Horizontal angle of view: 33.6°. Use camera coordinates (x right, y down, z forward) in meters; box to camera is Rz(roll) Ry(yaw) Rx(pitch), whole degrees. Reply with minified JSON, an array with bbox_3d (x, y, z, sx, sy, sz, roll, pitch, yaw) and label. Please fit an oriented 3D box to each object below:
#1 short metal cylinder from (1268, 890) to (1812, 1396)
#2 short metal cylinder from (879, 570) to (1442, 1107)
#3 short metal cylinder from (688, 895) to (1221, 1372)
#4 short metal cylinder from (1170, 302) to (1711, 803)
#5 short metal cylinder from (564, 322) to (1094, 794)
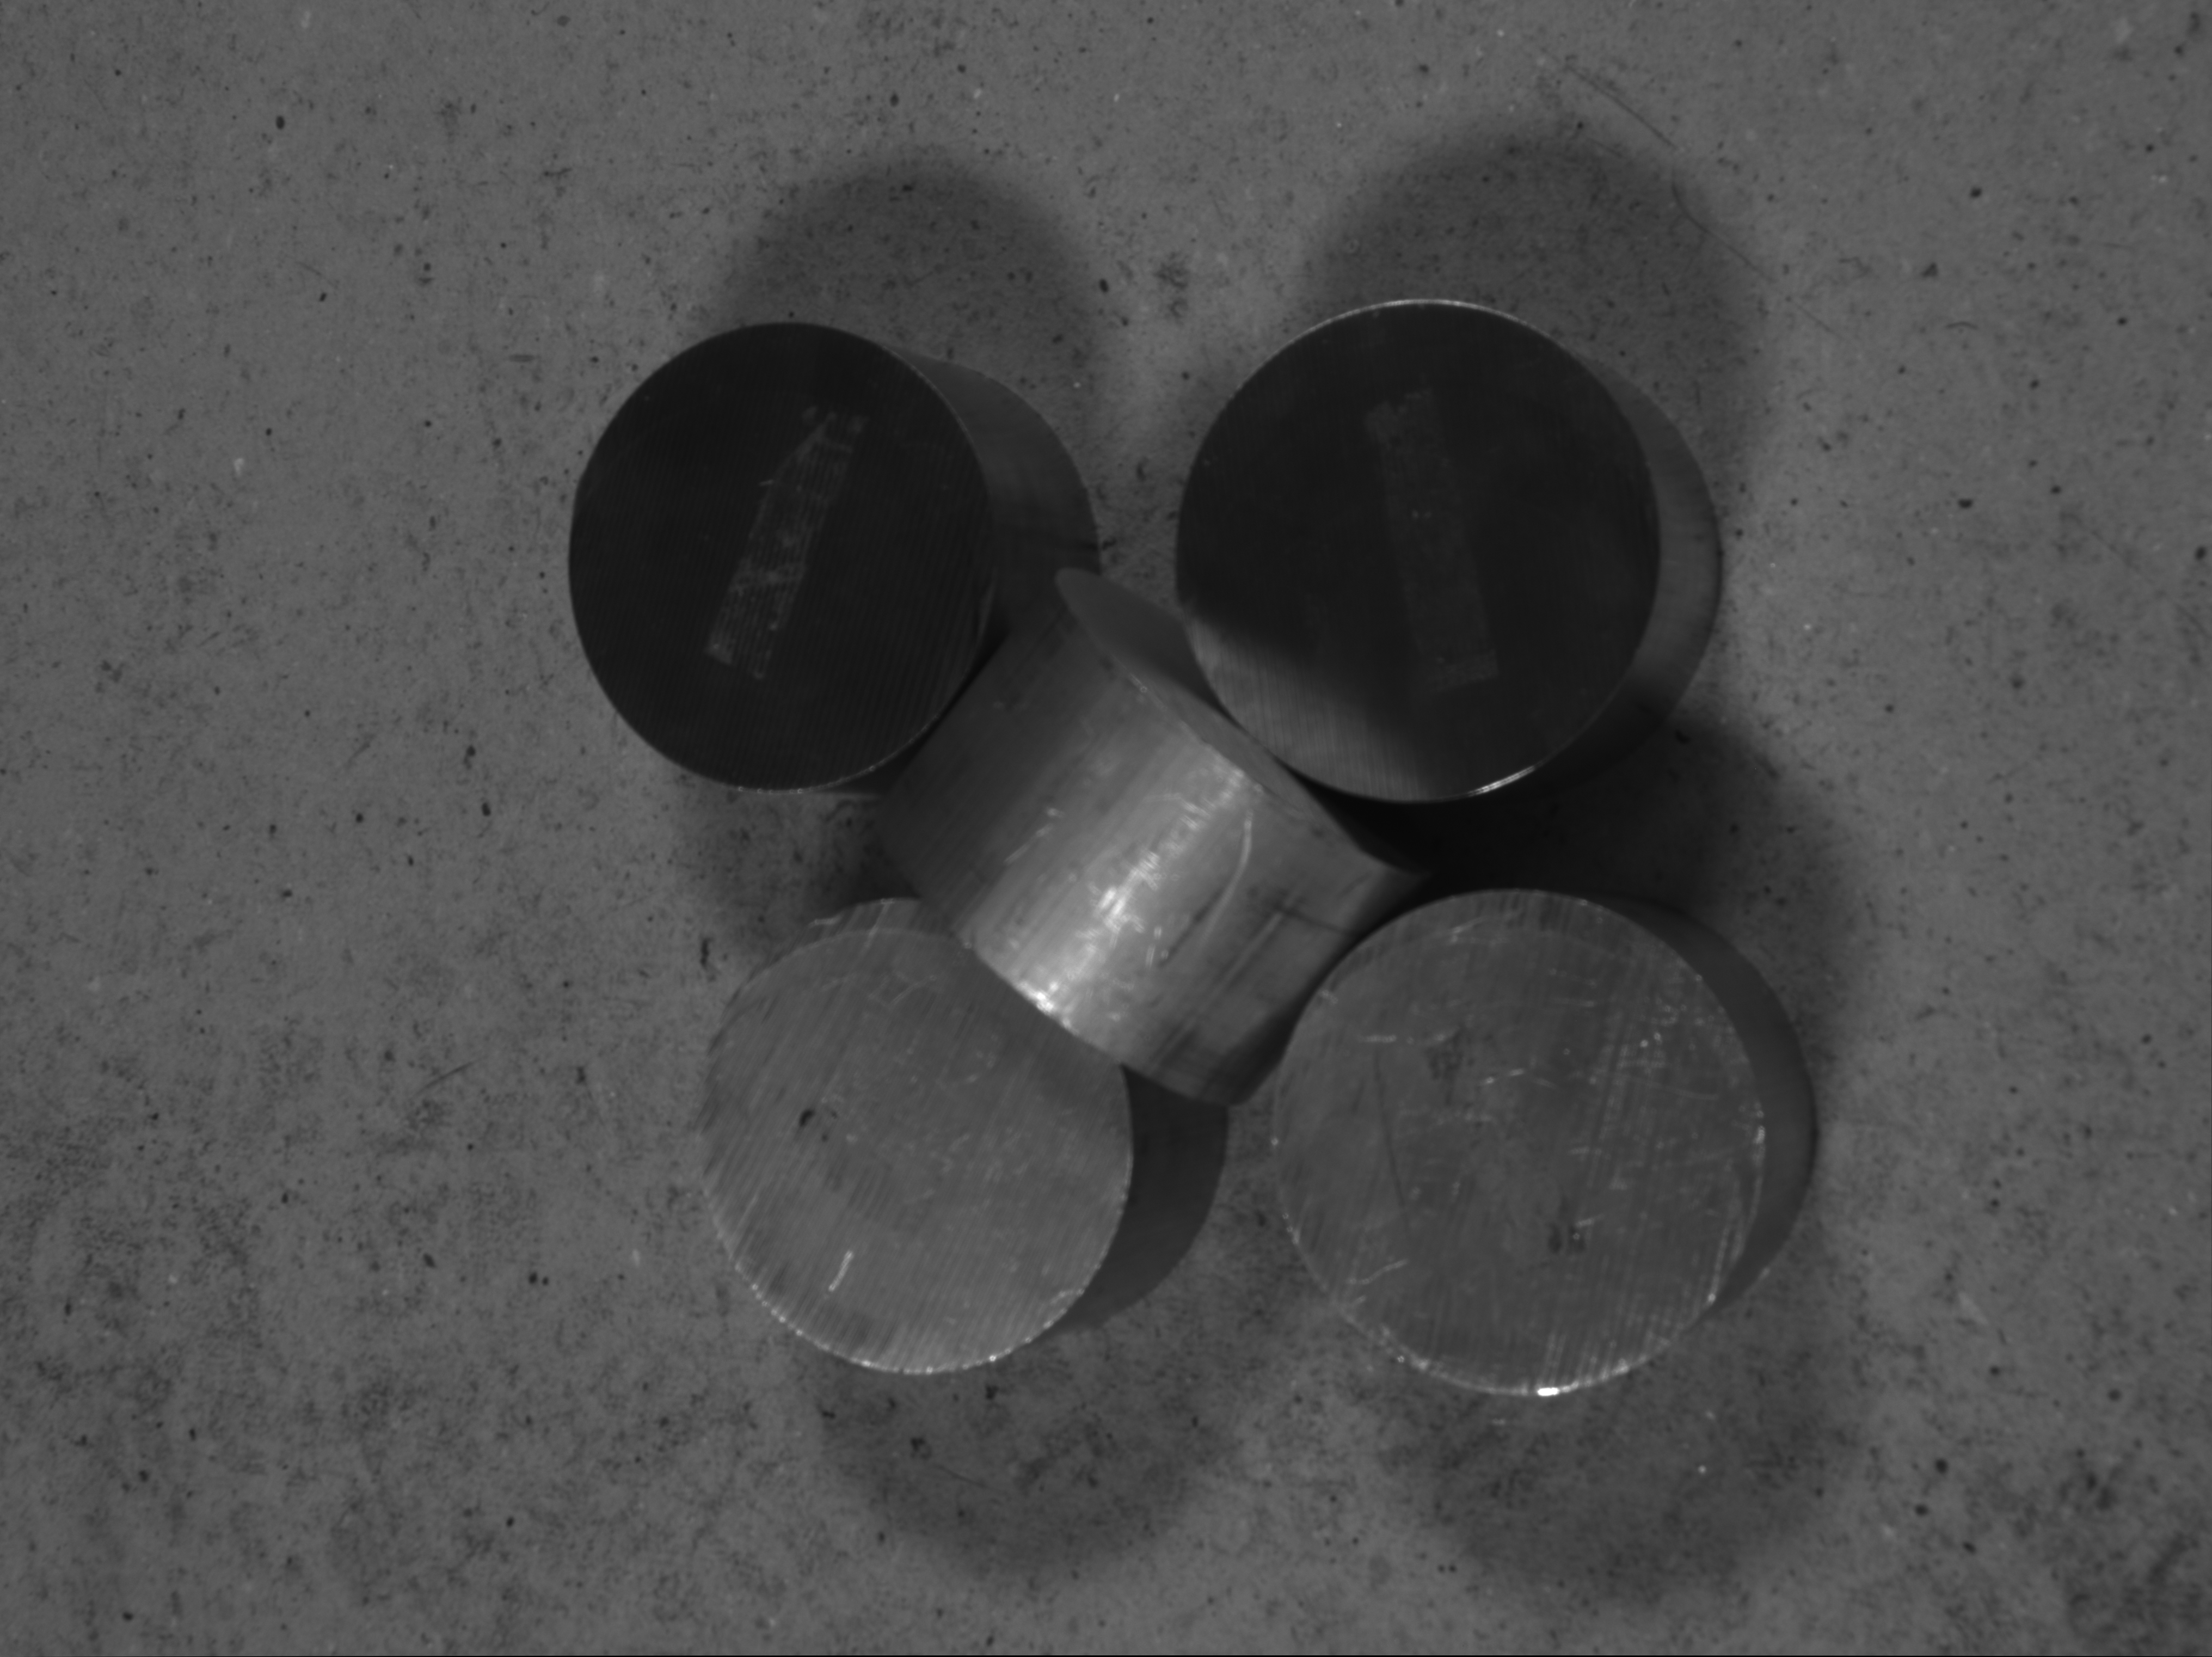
[{"bbox_3d":[0.072,0.050,0.604,0.080,0.050,0.080,0,90,20],"label":"short metal cylinder"},{"bbox_3d":[0.009,0.001,0.612,0.080,0.080,0.050,41,103,15],"label":"short metal cylinder"},{"bbox_3d":[-0.026,0.051,0.639,0.080,0.050,0.080,0,90,20],"label":"short metal cylinder"},{"bbox_3d":[0.057,-0.044,0.609,0.080,0.050,0.080,0,90,20],"label":"short metal cylinder"},{"bbox_3d":[-0.048,-0.046,0.647,0.080,0.050,0.080,0,90,20],"label":"short metal cylinder"}]
